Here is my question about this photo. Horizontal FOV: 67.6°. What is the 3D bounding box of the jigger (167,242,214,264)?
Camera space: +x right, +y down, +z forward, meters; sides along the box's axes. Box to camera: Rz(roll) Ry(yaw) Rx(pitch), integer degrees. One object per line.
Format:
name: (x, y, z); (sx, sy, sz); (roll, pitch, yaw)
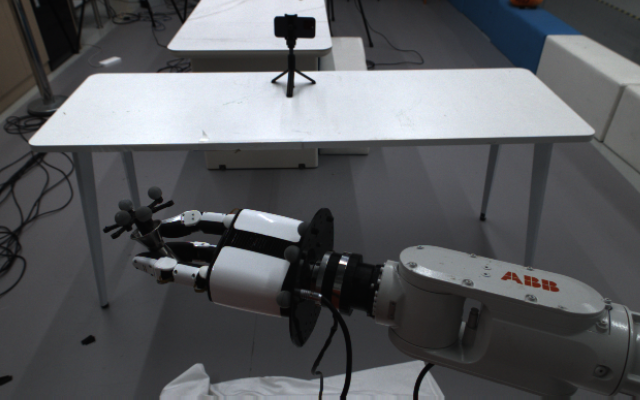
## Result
jigger: (-0.193, 0.061, 0.598); (0.043, 0.071, 0.043); (-20, 24, 9)
